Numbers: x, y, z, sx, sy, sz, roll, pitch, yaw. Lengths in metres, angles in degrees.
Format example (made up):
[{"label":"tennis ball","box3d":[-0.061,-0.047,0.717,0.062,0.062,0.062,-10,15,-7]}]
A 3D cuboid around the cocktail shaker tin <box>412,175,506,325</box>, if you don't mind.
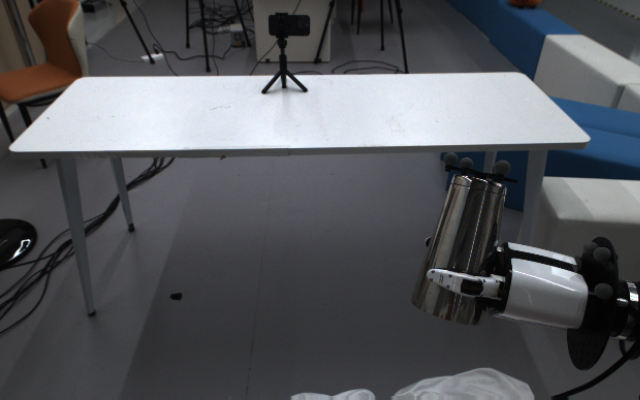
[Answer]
[{"label":"cocktail shaker tin","box3d":[0.181,0.057,0.610,0.093,0.170,0.093,13,5,-1]}]
